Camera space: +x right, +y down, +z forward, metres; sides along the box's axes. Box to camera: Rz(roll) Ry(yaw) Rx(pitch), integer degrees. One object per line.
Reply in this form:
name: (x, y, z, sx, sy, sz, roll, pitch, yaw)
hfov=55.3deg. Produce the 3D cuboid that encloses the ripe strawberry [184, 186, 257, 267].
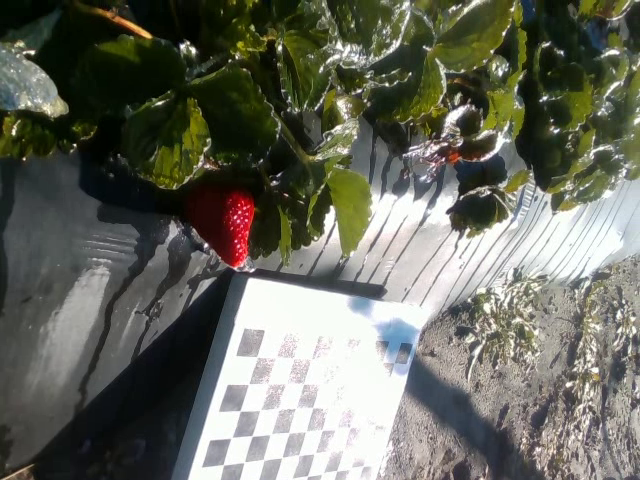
ripe strawberry: (-0.051, -0.007, 0.335, 0.047, 0.053, 0.041, -30, -23, 37)
